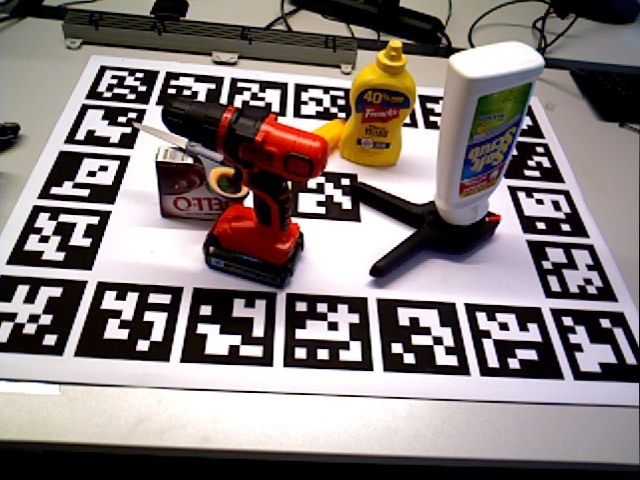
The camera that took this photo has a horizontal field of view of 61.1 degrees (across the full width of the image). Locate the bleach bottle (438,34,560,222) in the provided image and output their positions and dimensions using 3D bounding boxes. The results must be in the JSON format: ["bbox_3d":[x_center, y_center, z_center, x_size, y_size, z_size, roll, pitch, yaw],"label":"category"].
[{"bbox_3d":[0.201,-0.111,0.655,0.101,0.256,0.067,-15,49,-11],"label":"bleach bottle"}]

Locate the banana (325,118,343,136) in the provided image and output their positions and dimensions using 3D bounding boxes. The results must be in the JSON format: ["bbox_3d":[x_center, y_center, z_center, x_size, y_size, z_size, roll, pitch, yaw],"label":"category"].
[{"bbox_3d":[-0.028,-0.166,0.823,0.193,0.039,0.074,-30,42,-28],"label":"banana"}]

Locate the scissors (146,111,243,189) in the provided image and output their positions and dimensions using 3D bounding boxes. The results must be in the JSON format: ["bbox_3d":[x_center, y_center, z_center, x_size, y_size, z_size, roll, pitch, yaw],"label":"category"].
[{"bbox_3d":[-0.157,-0.124,0.656,0.202,0.016,0.086,26,55,8],"label":"scissors"}]

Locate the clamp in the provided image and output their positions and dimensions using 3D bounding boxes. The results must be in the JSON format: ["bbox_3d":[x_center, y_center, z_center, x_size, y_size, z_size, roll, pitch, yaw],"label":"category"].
[{"bbox_3d":[0.154,-0.032,0.723,0.201,0.037,0.163,-1,52,-10],"label":"clamp"}]

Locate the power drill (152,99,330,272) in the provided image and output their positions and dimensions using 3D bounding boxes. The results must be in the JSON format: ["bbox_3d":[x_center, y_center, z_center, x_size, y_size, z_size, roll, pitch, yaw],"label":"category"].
[{"bbox_3d":[-0.088,-0.059,0.593,0.184,0.191,0.056,12,42,6],"label":"power drill"}]

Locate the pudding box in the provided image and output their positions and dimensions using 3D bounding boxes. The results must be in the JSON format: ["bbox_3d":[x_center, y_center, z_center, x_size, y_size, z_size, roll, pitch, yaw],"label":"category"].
[{"bbox_3d":[-0.156,-0.075,0.702,0.113,0.092,0.038,7,42,-2],"label":"pudding box"}]

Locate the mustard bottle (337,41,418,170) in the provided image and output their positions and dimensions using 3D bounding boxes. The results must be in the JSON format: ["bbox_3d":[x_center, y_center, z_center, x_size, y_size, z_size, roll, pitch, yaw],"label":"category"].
[{"bbox_3d":[0.086,-0.192,0.772,0.096,0.196,0.057,15,49,3],"label":"mustard bottle"}]
